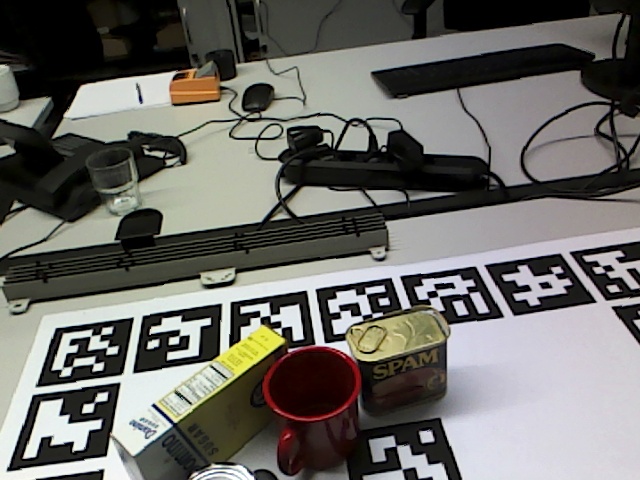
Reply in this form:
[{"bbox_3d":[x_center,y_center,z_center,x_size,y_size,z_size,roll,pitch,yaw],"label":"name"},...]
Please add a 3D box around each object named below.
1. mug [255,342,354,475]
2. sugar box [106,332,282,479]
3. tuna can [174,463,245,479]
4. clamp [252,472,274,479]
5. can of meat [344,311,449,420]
[{"bbox_3d":[-0.015,0.167,0.587,0.093,0.081,0.117,7,39,17],"label":"mug"},{"bbox_3d":[-0.108,0.174,0.597,0.176,0.092,0.045,-32,41,-34],"label":"sugar box"},{"bbox_3d":[-0.099,0.243,0.539,0.086,0.033,0.086,-4,37,3],"label":"tuna can"},{"bbox_3d":[-0.015,0.267,0.500,0.166,0.036,0.121,17,37,23],"label":"clamp"},{"bbox_3d":[0.078,0.130,0.637,0.101,0.083,0.058,-12,34,-10],"label":"can of meat"}]
